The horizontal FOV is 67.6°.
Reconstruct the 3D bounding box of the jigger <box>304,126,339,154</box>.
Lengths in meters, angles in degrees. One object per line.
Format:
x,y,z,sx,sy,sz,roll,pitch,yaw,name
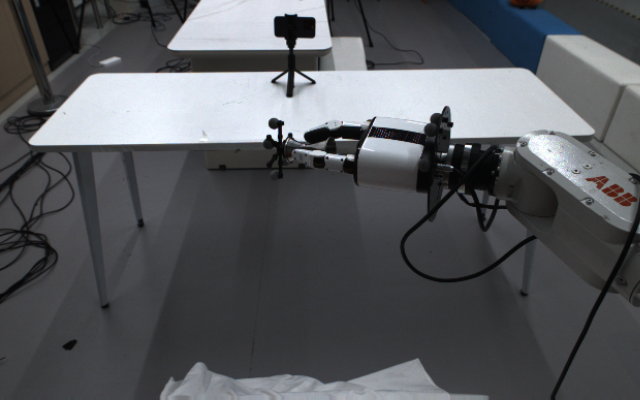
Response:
-0.009,-0.077,0.729,0.071,0.043,0.043,4,33,22,jigger
